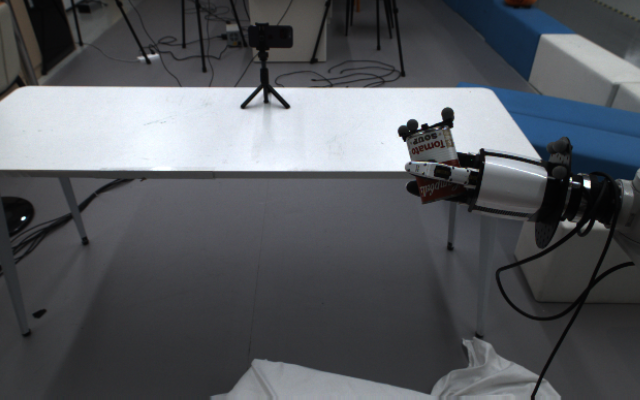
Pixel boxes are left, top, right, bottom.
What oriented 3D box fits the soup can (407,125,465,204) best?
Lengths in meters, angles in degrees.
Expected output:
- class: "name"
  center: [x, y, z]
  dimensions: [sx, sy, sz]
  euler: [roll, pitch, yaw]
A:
- class: "soup can"
  center: [0.171, -0.051, 0.714]
  dimensions: [0.067, 0.101, 0.067]
  euler: [-14, -2, -1]
